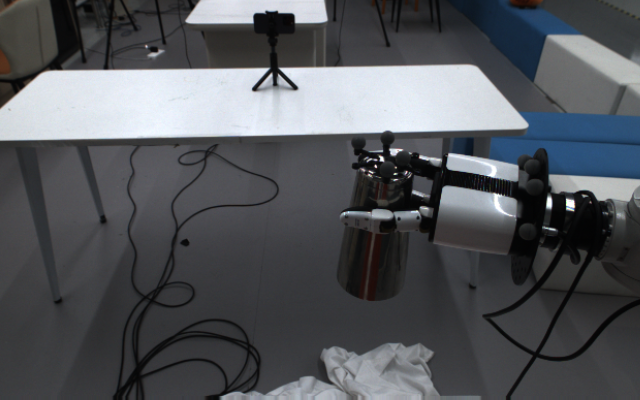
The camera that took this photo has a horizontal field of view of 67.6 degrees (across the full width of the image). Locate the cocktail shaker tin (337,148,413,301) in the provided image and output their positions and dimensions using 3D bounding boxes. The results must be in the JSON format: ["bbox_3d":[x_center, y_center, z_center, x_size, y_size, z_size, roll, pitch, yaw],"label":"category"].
[{"bbox_3d":[0.075,0.030,0.613,0.093,0.170,0.093,2,33,-2],"label":"cocktail shaker tin"}]
